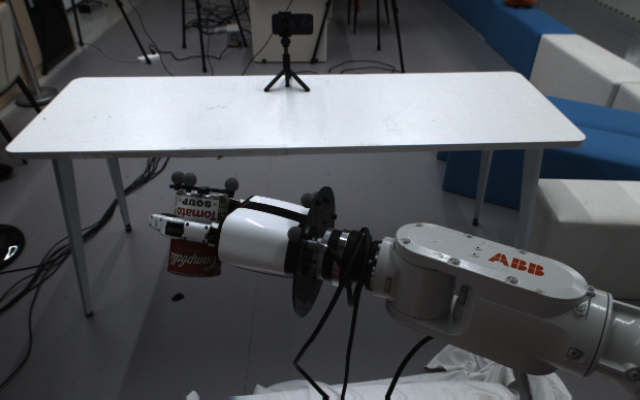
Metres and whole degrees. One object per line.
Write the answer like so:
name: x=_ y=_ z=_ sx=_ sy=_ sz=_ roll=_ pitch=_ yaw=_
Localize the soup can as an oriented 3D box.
soup can: x=-0.153 y=0.042 z=0.614 sx=0.067 sy=0.101 sz=0.067 roll=7 pitch=3 yaw=0
